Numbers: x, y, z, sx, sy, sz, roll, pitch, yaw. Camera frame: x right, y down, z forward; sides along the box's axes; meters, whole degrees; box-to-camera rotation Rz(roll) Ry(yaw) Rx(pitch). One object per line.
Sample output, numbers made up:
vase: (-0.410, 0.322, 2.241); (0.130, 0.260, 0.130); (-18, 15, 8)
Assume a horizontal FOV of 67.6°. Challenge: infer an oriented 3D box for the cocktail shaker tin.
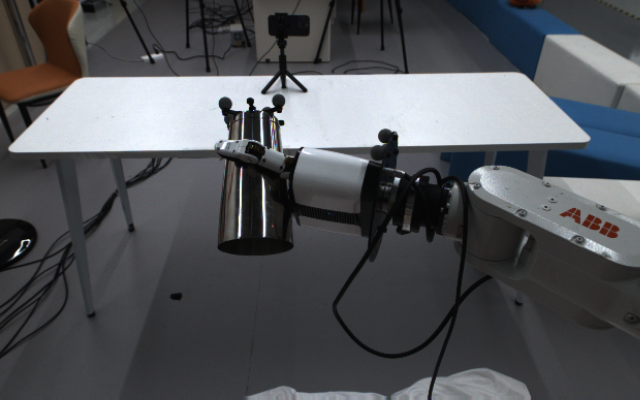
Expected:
cocktail shaker tin: (-0.082, -0.022, 0.611); (0.093, 0.093, 0.170); (-2, 71, -6)
